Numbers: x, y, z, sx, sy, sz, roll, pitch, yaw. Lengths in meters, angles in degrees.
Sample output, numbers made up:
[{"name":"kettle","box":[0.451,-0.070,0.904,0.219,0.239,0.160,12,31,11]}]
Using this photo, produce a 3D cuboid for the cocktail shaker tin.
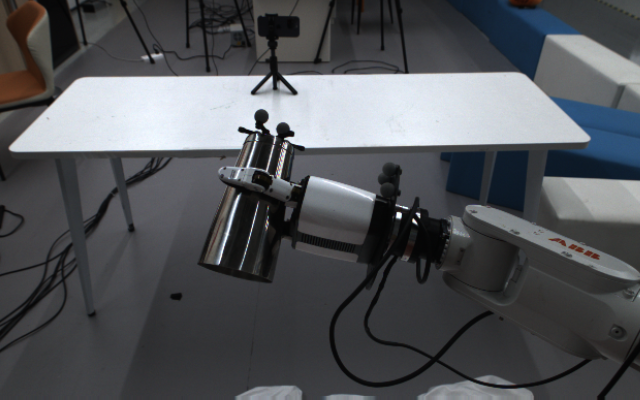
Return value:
[{"name":"cocktail shaker tin","box":[-0.083,0.009,0.598,0.093,0.093,0.170,10,74,12]}]
